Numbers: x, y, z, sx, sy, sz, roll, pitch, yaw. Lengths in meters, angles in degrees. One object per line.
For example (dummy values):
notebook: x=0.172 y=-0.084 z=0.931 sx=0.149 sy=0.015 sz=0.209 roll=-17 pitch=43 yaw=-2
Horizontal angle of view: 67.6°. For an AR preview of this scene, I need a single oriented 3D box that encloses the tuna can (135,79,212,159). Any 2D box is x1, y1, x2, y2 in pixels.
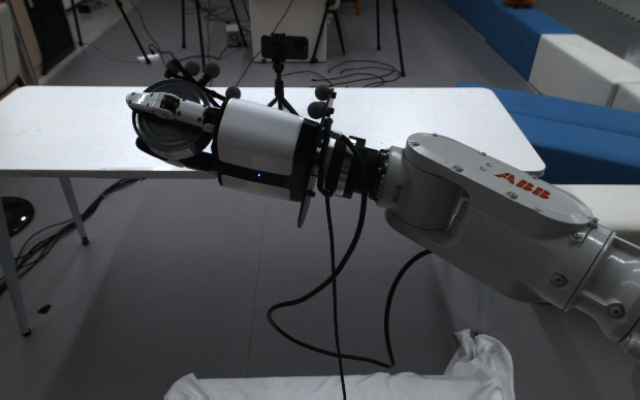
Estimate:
tuna can: x=-0.161 y=-0.091 z=0.542 sx=0.085 sy=0.034 sz=0.085 roll=0 pitch=72 yaw=0
